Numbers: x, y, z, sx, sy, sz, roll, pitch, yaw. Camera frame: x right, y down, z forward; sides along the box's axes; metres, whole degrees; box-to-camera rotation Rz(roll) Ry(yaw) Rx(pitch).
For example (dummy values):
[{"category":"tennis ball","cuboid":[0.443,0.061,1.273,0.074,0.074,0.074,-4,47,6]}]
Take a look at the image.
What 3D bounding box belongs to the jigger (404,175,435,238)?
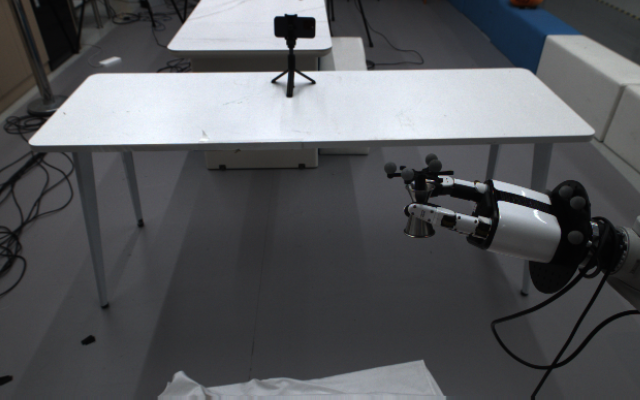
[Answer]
[{"category":"jigger","cuboid":[0.138,0.012,0.671,0.043,0.071,0.043,-2,19,1]}]
